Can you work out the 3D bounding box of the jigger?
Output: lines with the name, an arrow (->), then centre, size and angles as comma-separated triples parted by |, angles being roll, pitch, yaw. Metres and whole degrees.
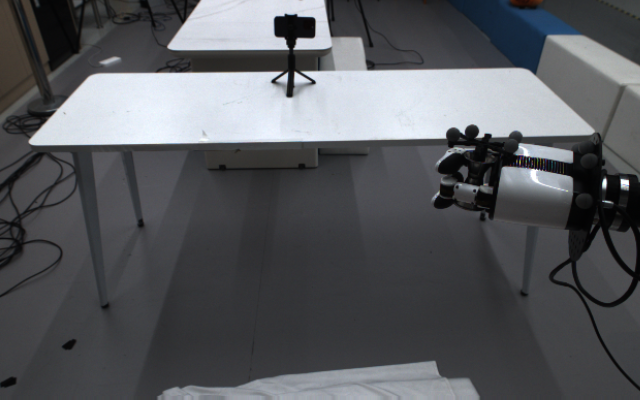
jigger -> 0.207, -0.026, 0.639 | 0.043, 0.071, 0.043 | 3, 25, -1
